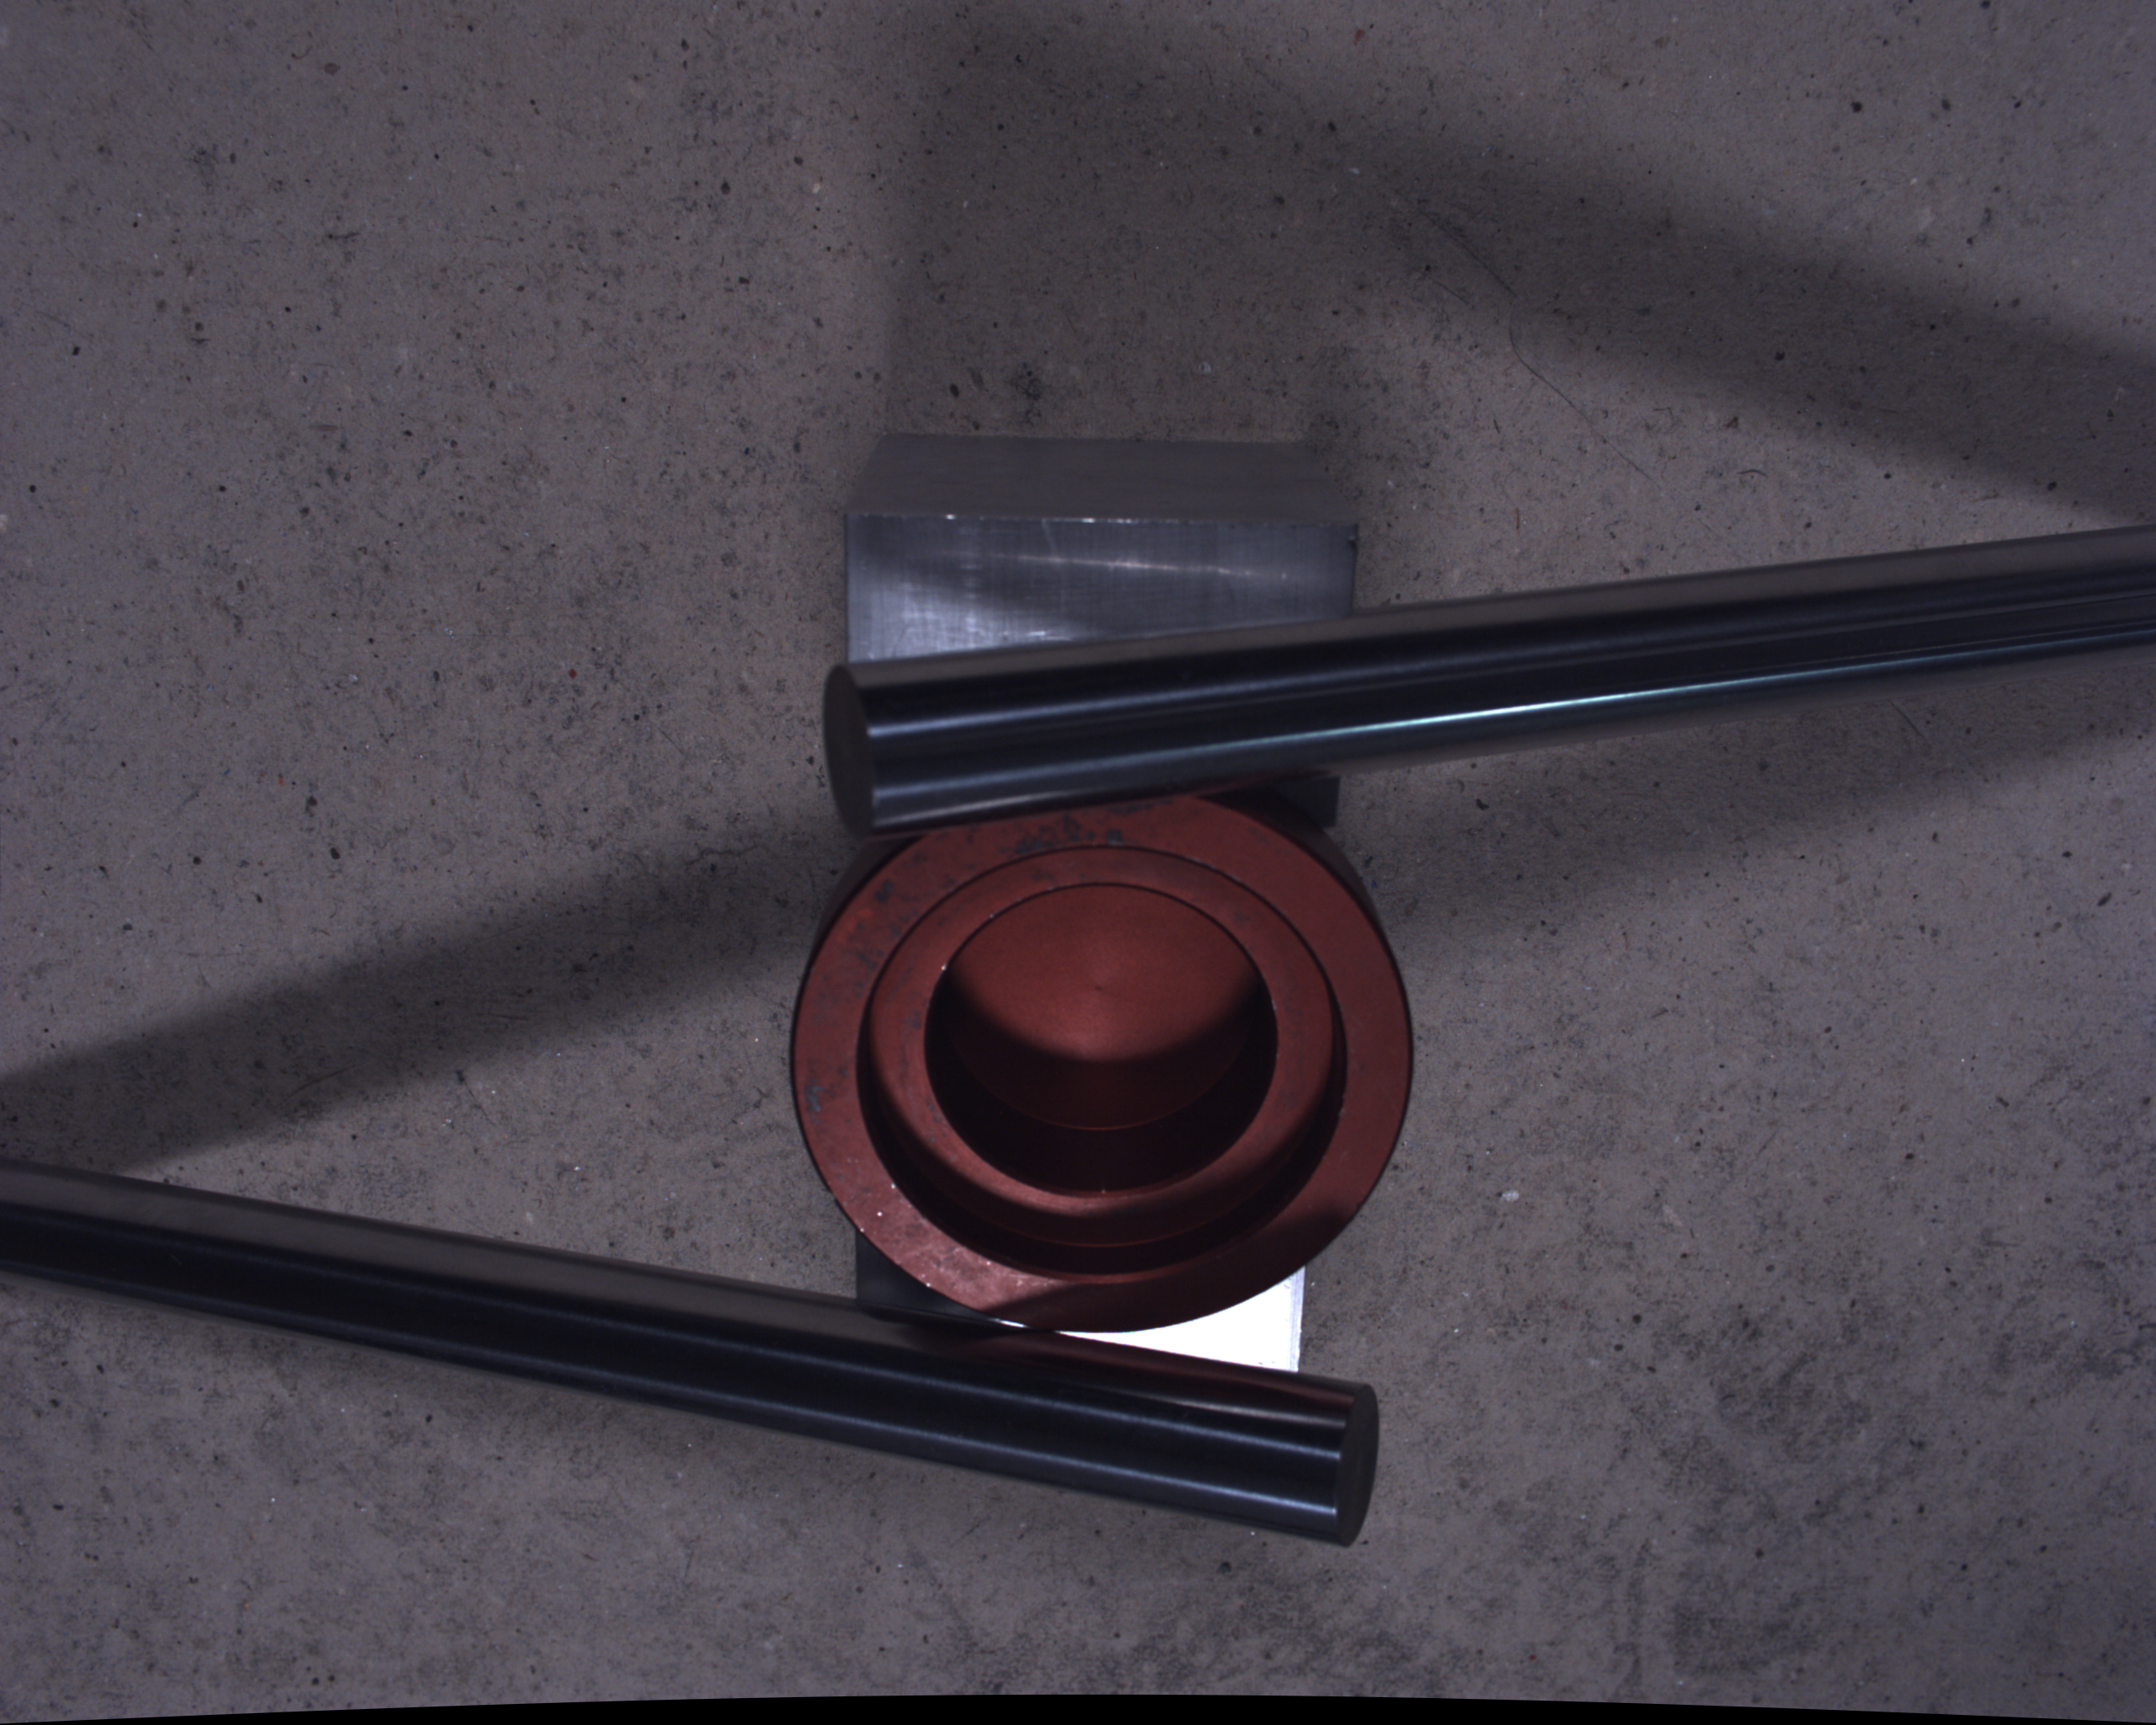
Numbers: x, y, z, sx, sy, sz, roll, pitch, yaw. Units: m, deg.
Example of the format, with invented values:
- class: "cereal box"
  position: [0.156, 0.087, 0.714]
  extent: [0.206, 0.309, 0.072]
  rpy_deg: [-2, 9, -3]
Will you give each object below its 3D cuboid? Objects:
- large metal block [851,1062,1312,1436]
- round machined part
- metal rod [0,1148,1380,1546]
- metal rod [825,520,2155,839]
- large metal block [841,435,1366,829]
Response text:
- class: "large metal block"
  position: [0.000, 0.069, 0.407]
  extent: [0.081, 0.080, 0.050]
  rpy_deg: [1, 110, -1]
- class: "round machined part"
  position: [0.004, 0.026, 0.349]
  extent: [0.099, 0.042, 0.097]
  rpy_deg: [0, 110, -1]
- class: "metal rod"
  position: [-0.095, 0.082, 0.381]
  extent: [0.301, 0.025, 0.025]
  rpy_deg: [5, 112, 22]
- class: "metal rod"
  position: [0.108, -0.036, 0.342]
  extent: [0.303, 0.025, 0.025]
  rpy_deg: [-8, 112, -21]
- class: "large metal block"
  position: [0.003, -0.043, 0.366]
  extent: [0.081, 0.080, 0.050]
  rpy_deg: [1, 110, -1]
